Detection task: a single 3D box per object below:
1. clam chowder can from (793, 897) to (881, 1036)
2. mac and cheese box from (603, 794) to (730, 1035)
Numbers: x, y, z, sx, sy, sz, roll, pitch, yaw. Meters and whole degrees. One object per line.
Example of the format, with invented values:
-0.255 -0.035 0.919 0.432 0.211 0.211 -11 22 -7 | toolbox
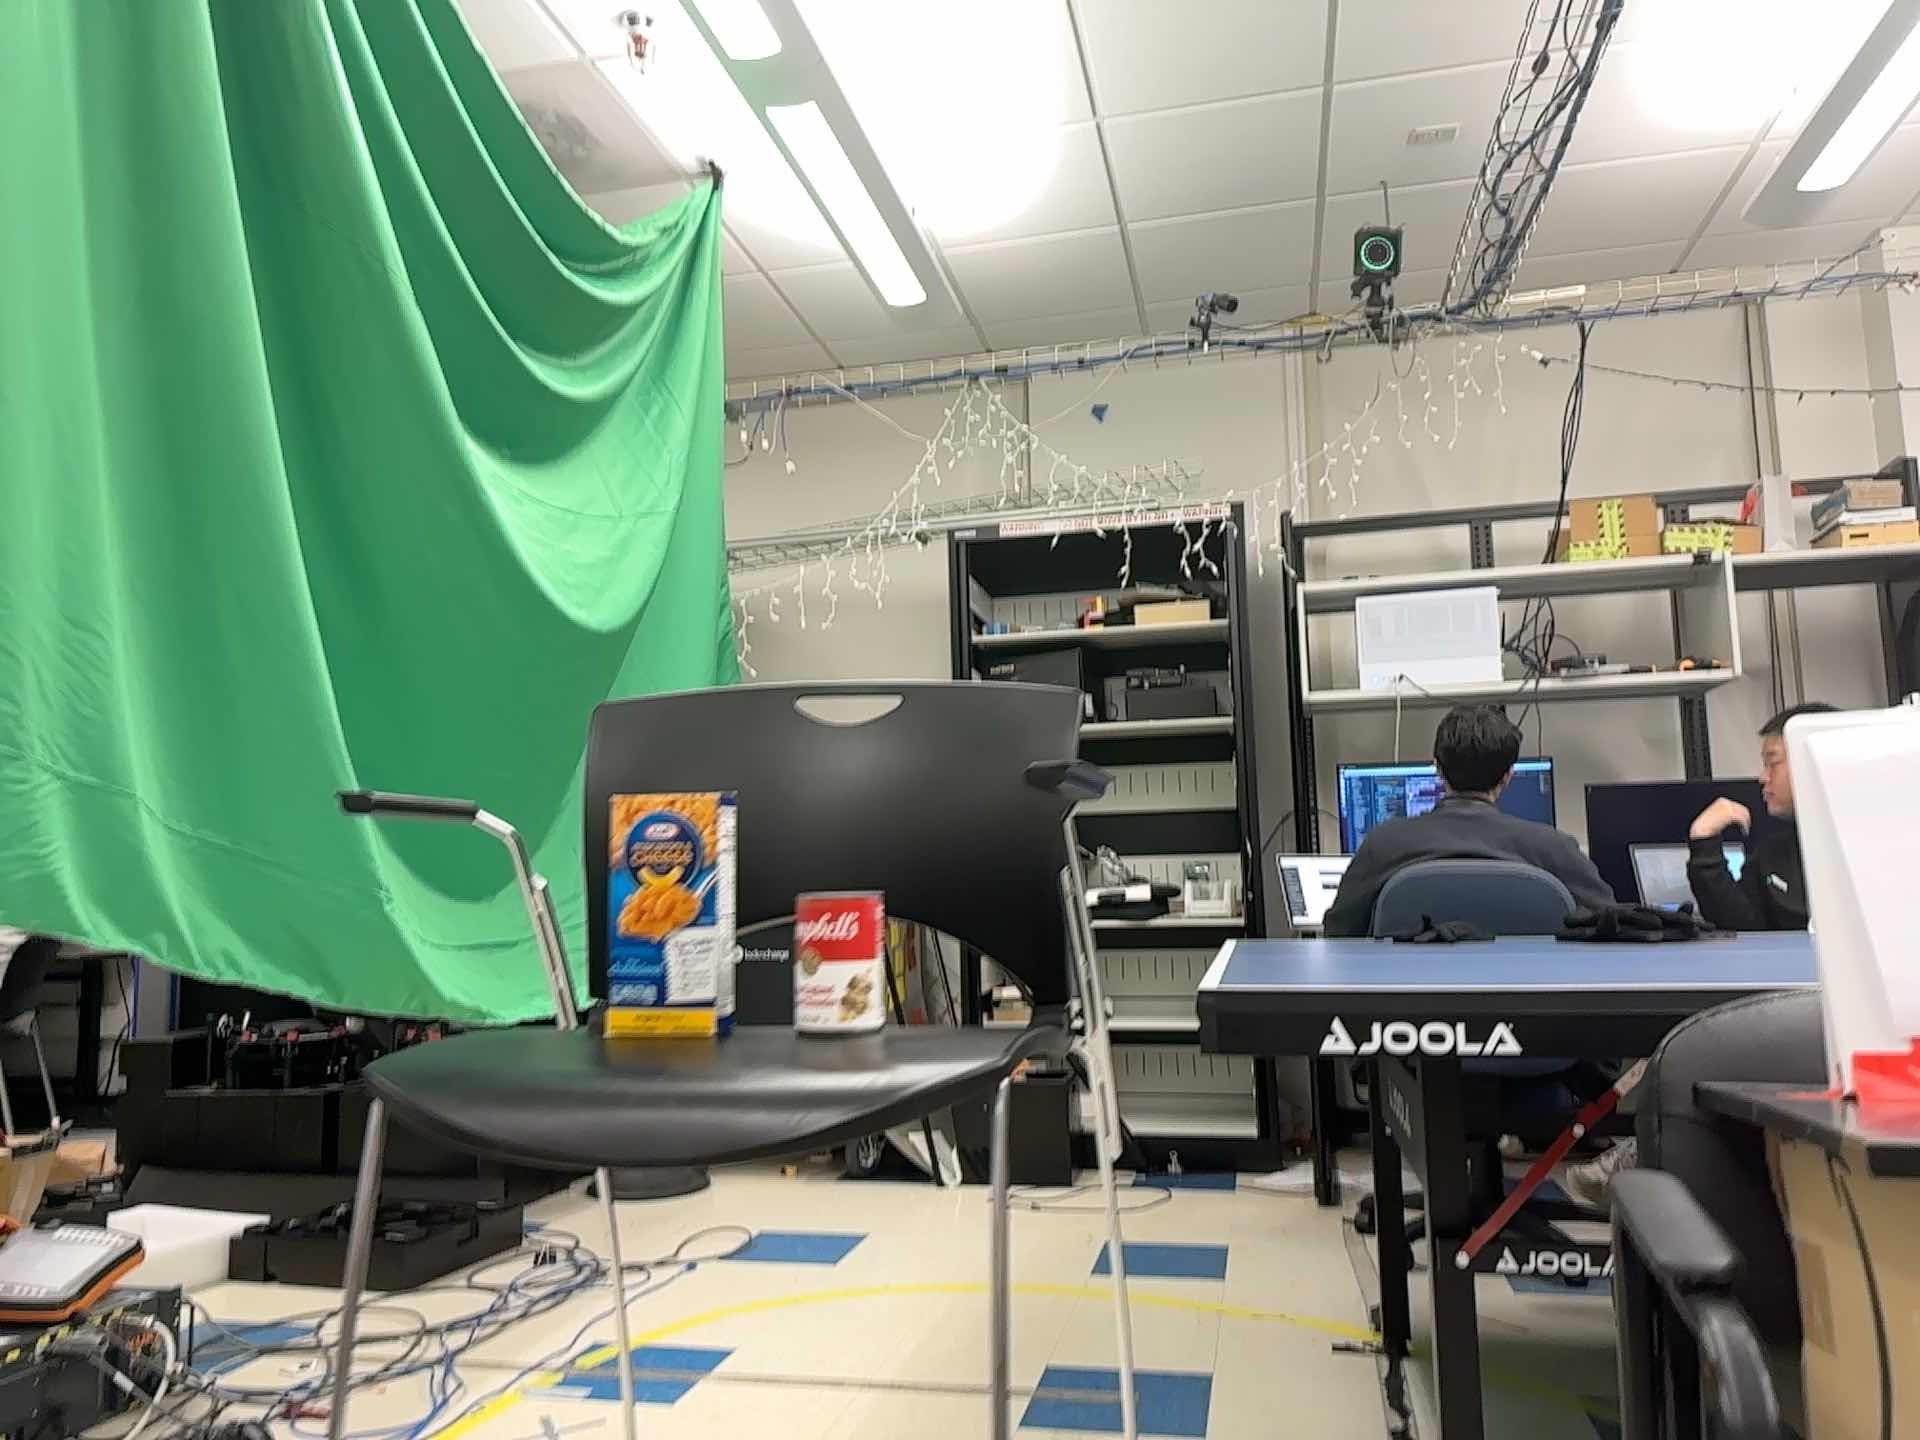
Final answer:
-0.095 0.188 1.033 0.068 0.102 0.068 -1 -8 0 | clam chowder can
-0.230 0.151 1.054 0.088 0.181 0.035 -3 -6 18 | mac and cheese box
